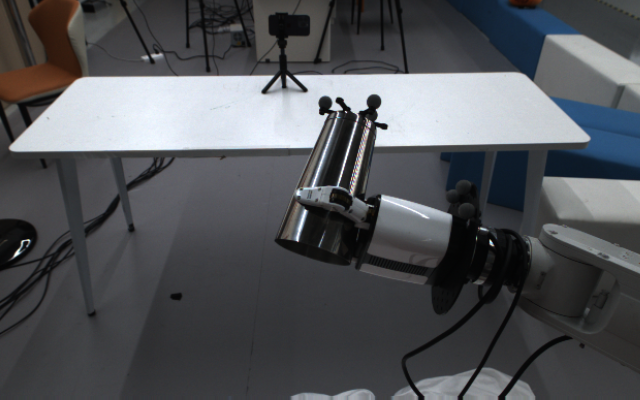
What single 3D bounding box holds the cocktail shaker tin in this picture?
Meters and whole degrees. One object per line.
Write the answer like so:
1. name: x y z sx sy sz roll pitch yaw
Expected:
1. cocktail shaker tin: 0.015 -0.016 0.582 0.093 0.093 0.170 13 74 15
